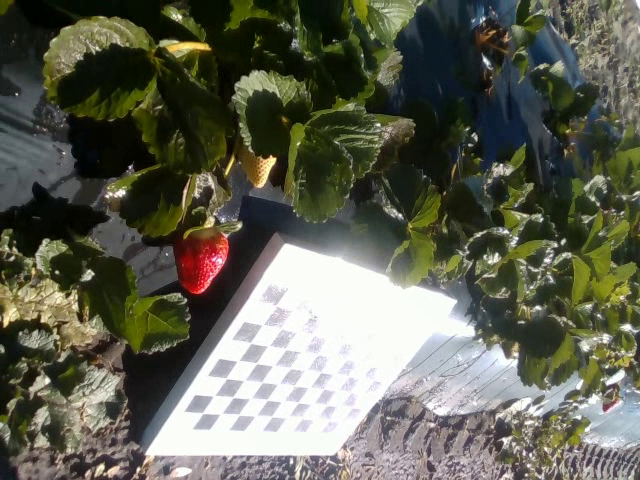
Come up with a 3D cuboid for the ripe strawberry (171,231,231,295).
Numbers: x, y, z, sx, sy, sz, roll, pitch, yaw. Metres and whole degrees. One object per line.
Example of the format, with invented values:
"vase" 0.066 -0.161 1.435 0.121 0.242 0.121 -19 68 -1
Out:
"ripe strawberry" -0.101 0.018 0.503 0.048 0.069 0.040 0 28 -33
